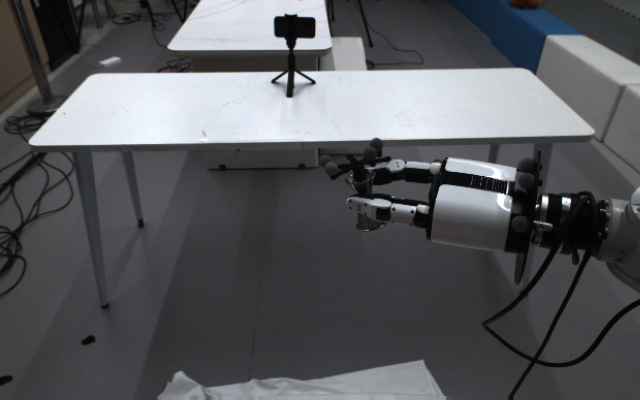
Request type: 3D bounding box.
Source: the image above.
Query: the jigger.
[{"bbox_3d":[0.061,0.001,0.628,0.043,0.071,0.043,-14,21,6],"label":"jigger"}]
